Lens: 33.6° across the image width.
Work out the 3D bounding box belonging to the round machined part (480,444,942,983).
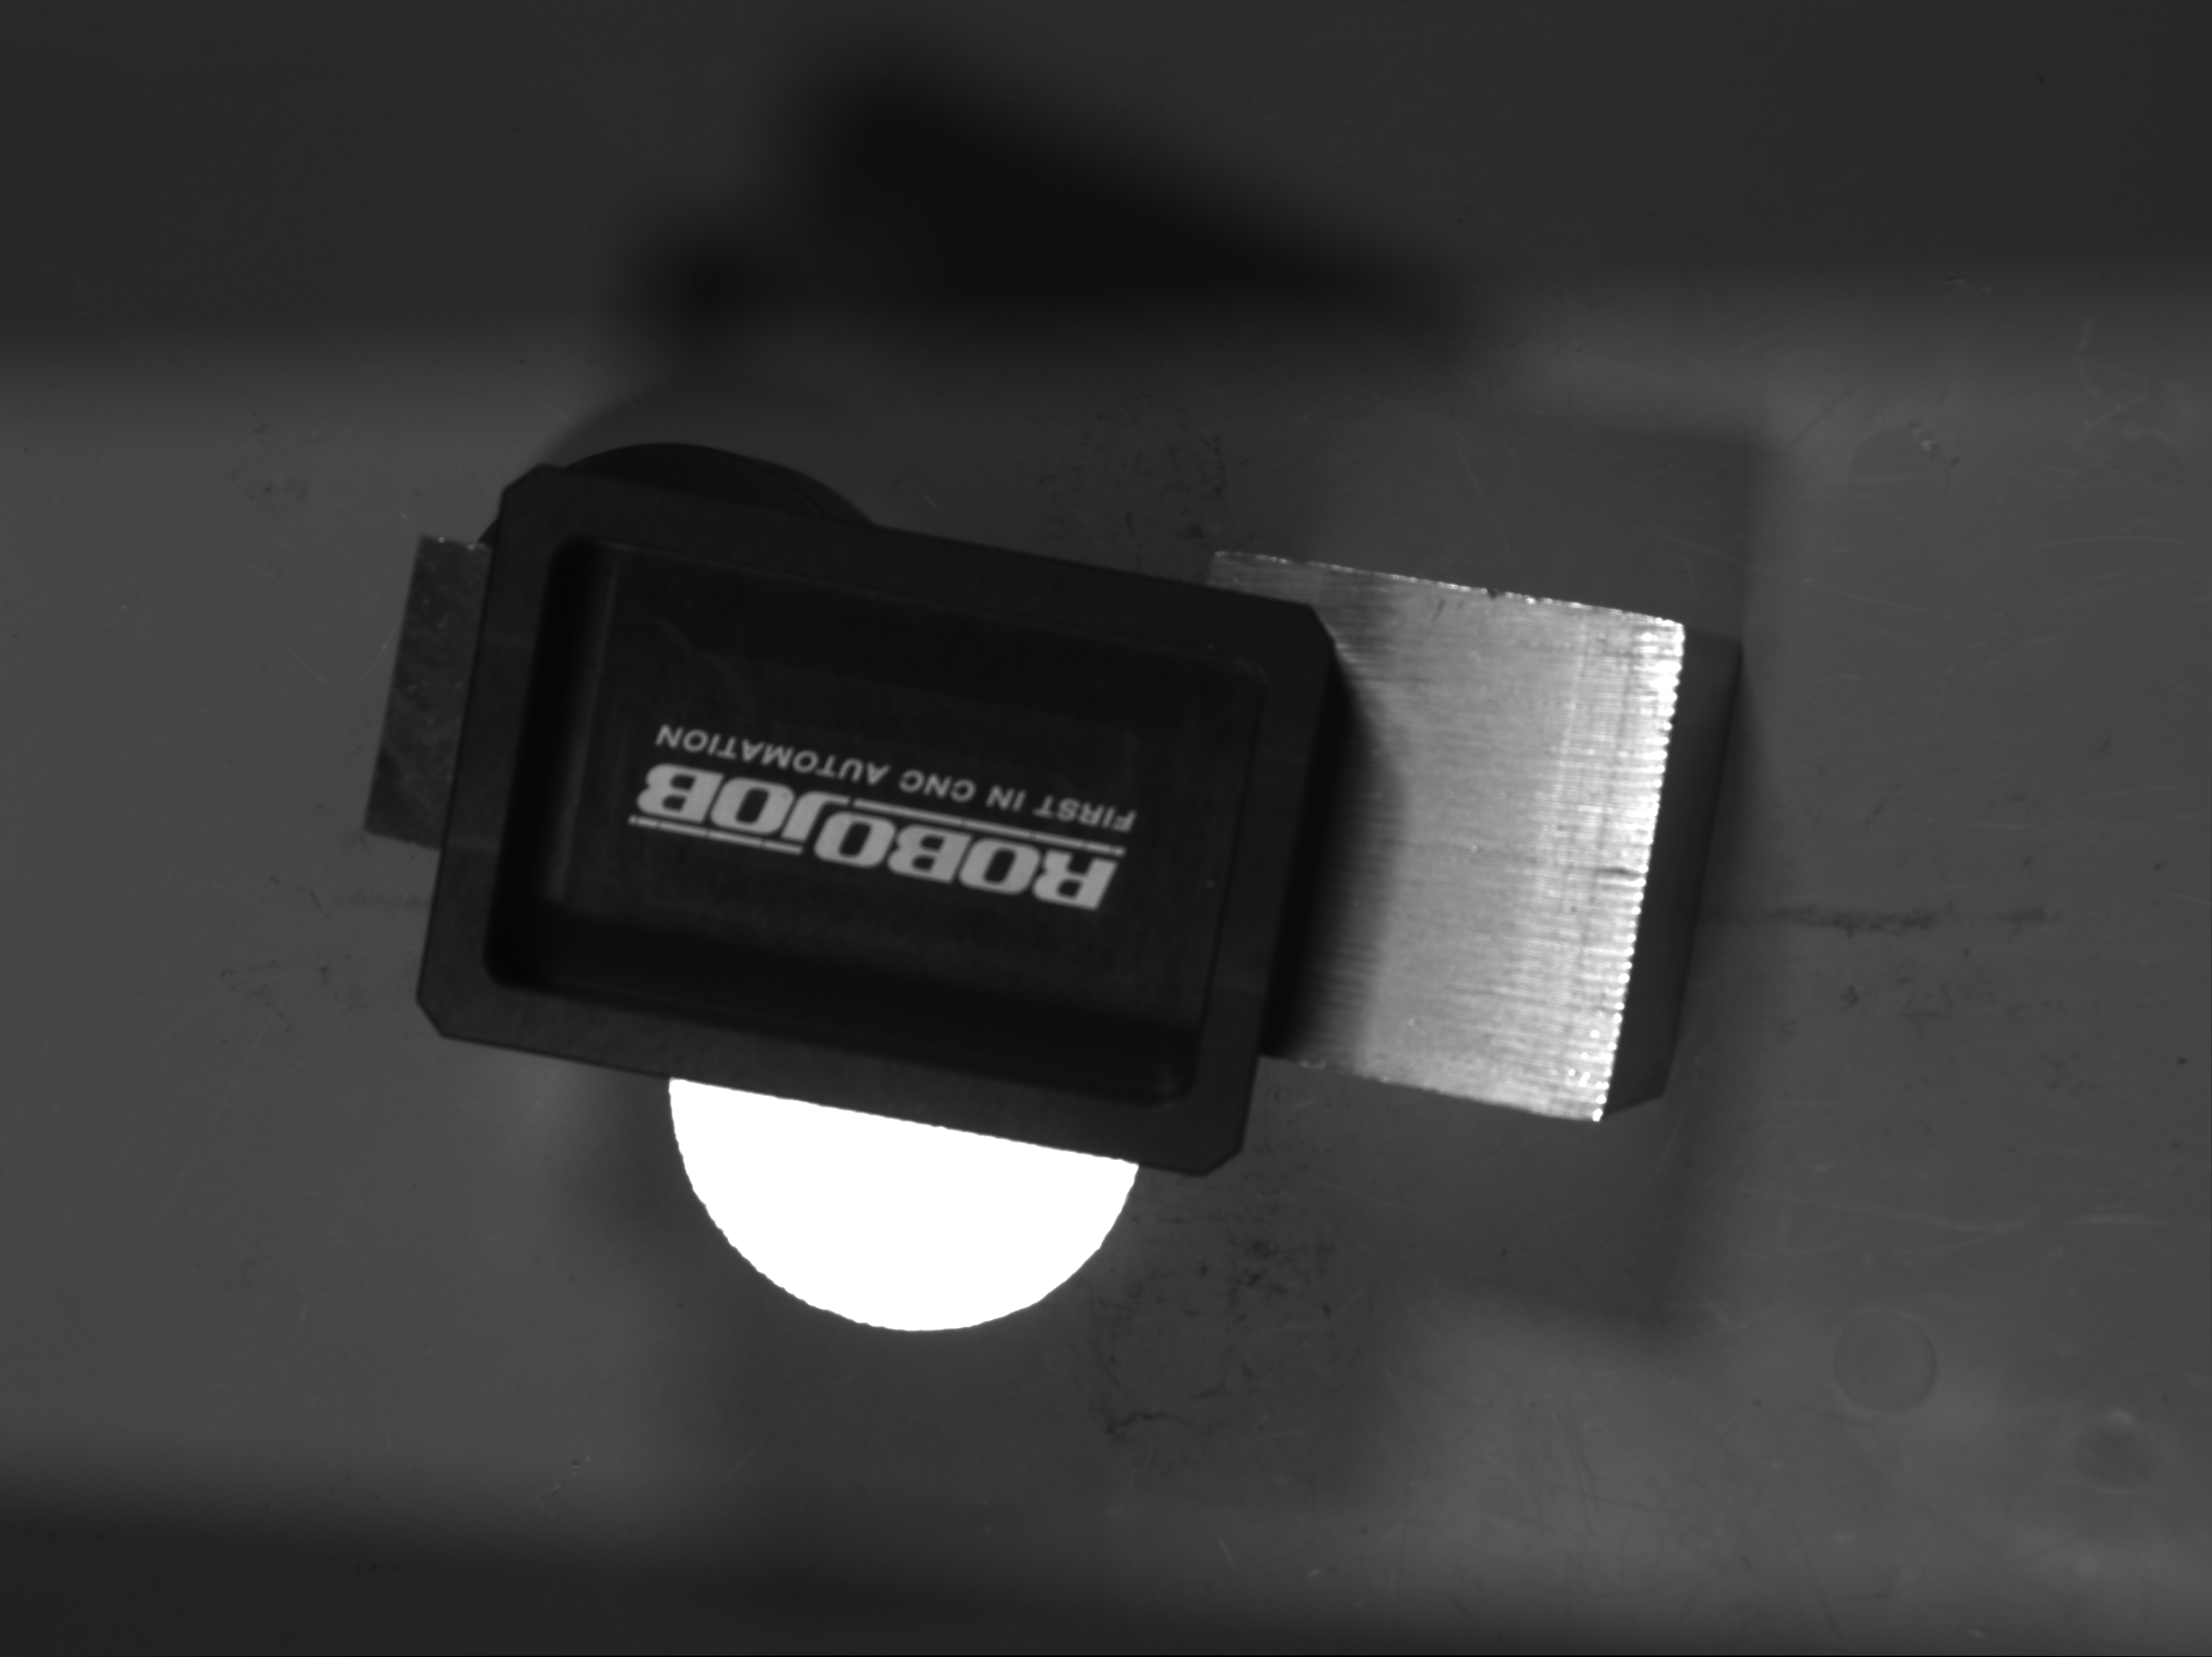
[{"bbox_3d":[-0.083,-0.021,0.663,0.098,0.042,0.098,0,90,20],"label":"round machined part"}]

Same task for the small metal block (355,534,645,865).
[{"bbox_3d":[-0.099,-0.021,0.620,0.025,0.050,0.050,13,94,19],"label":"small metal block"}]

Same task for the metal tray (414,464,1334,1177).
[{"bbox_3d":[-0.036,-0.002,0.578,0.130,0.030,0.090,10,94,0],"label":"metal tray"}]

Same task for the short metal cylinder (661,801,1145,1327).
[{"bbox_3d":[-0.031,0.039,0.628,0.080,0.050,0.080,2,103,7],"label":"short metal cylinder"}]

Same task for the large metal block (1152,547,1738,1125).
[{"bbox_3d":[0.055,0.000,0.609,0.080,0.050,0.080,10,93,19],"label":"large metal block"}]
